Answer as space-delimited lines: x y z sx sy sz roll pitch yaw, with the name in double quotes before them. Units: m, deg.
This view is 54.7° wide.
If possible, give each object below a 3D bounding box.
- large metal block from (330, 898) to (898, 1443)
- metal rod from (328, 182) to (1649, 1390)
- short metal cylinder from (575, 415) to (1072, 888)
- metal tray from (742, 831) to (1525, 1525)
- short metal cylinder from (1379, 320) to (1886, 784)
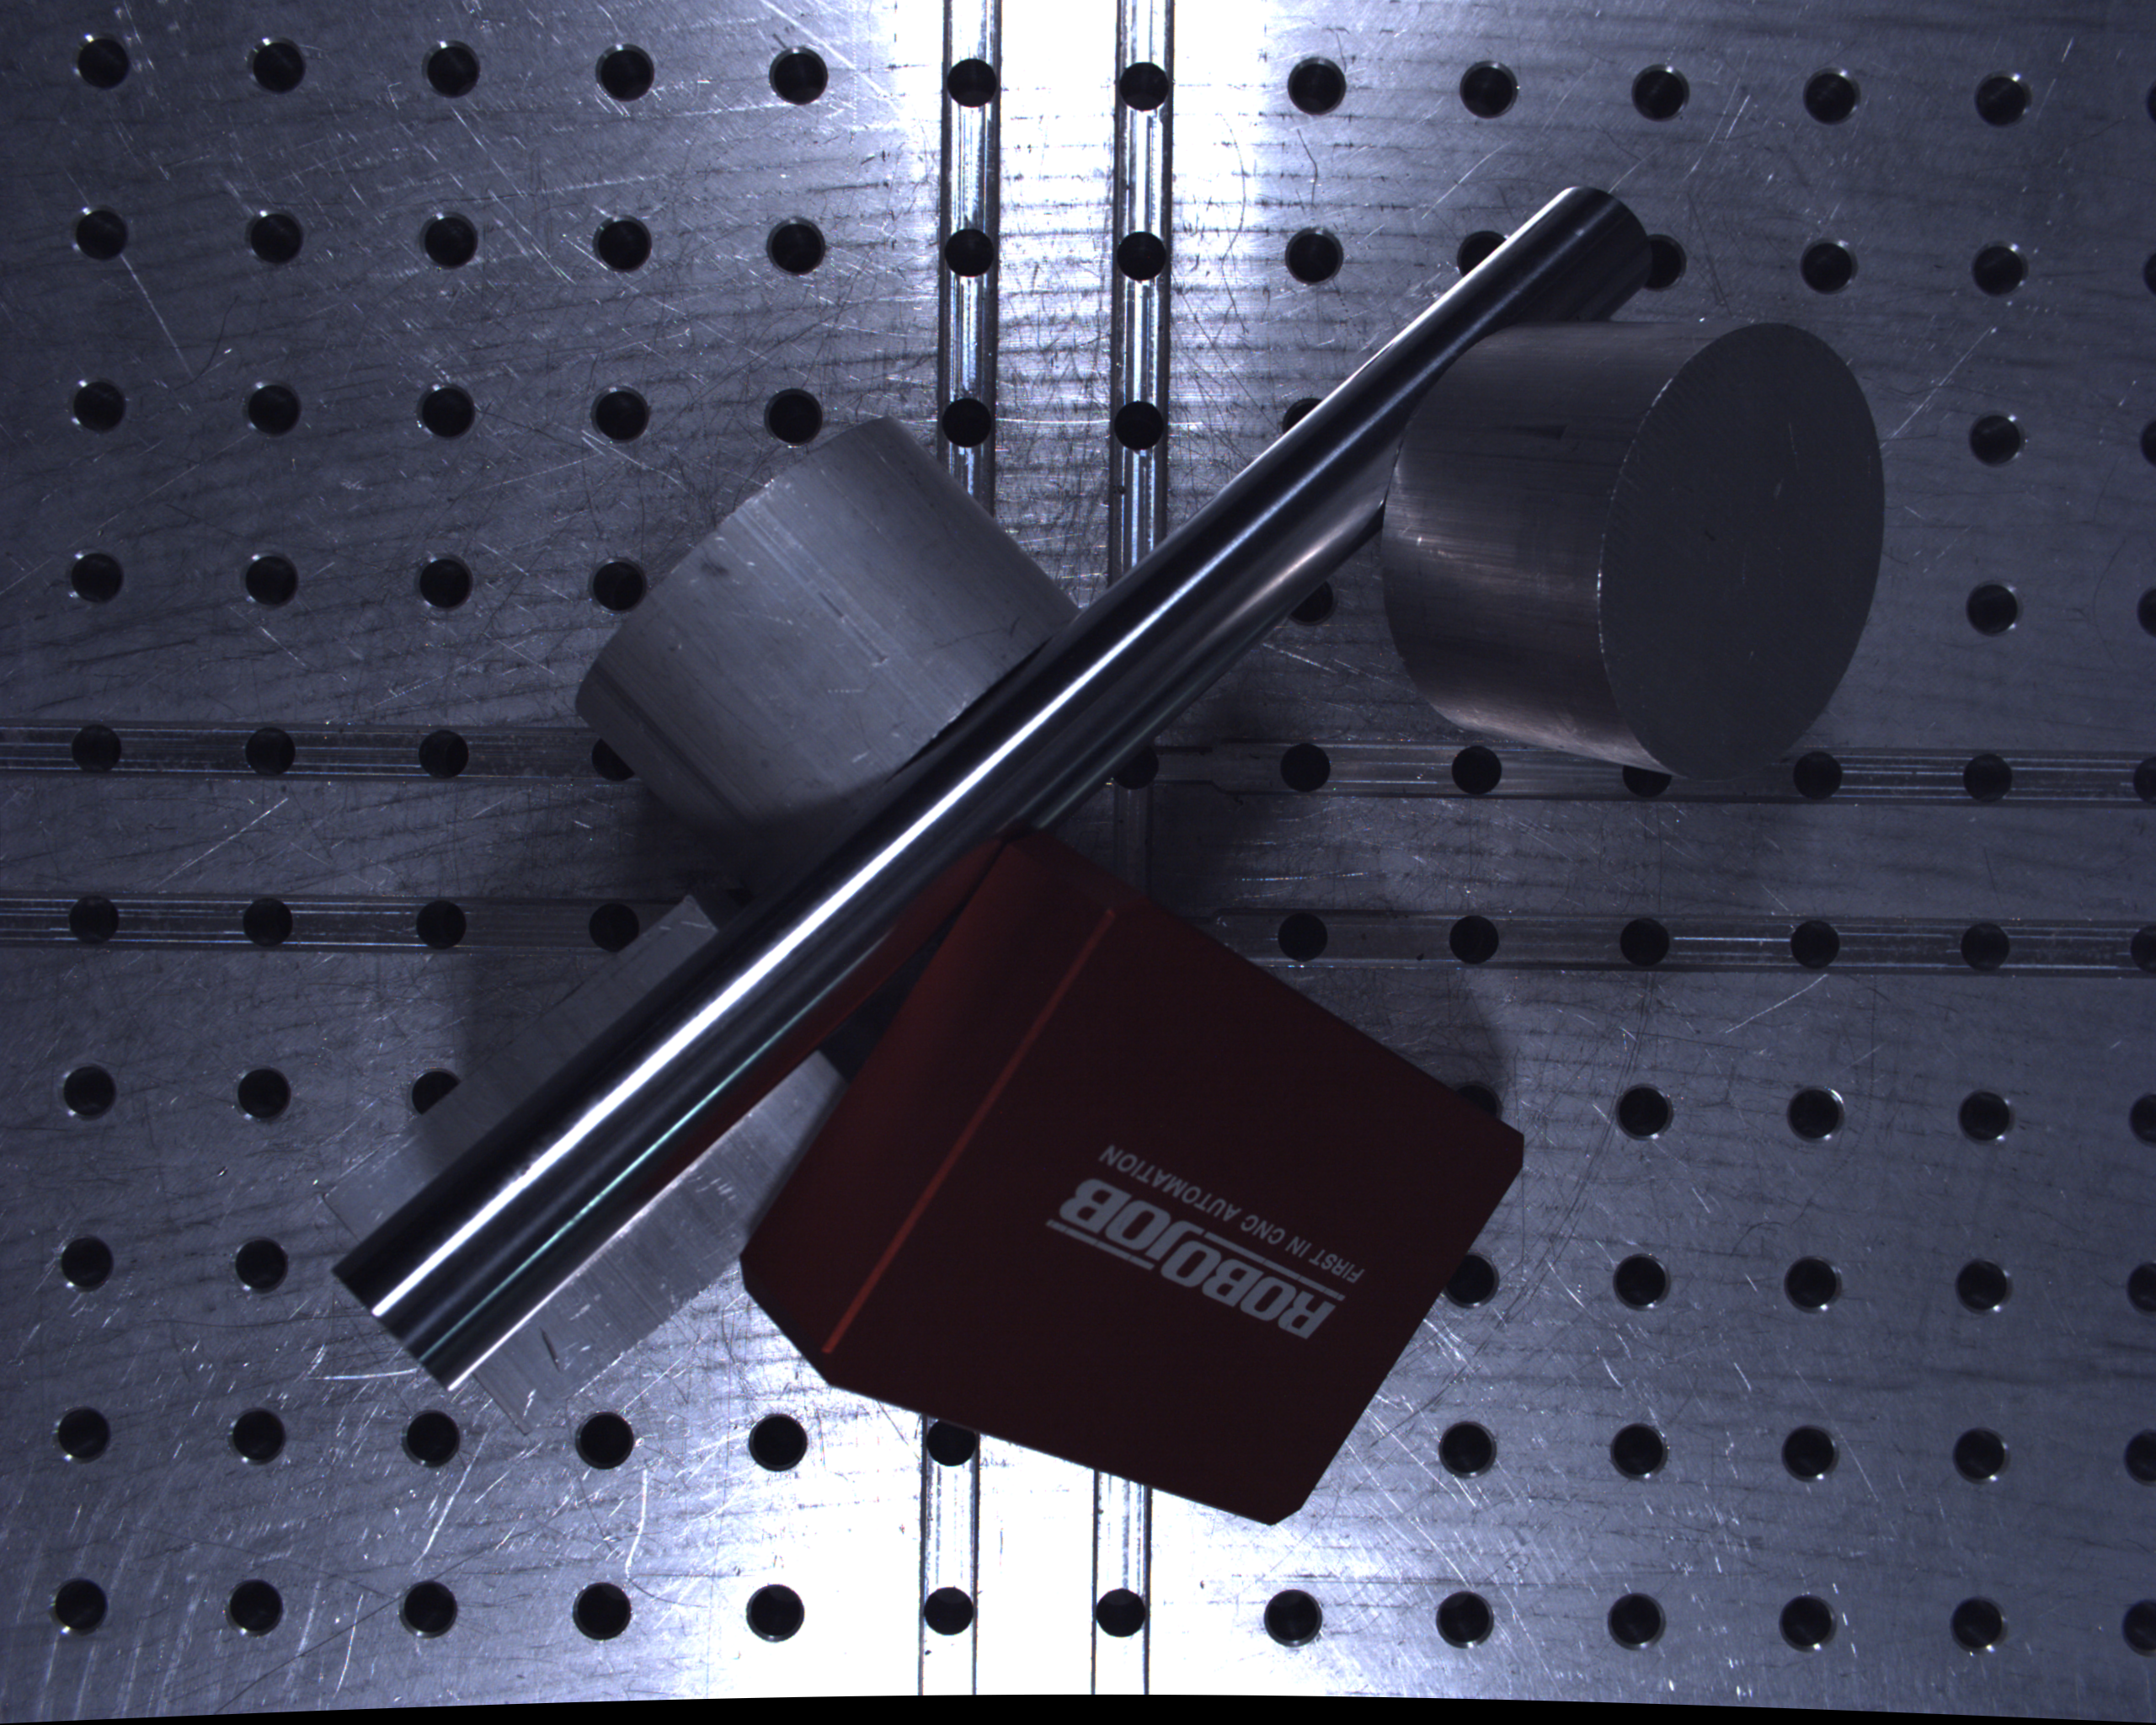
"large metal block" -0.076 0.051 0.384 0.080 0.080 0.050 -39 90 0
"metal rod" 0.001 -0.028 0.360 0.025 0.025 0.301 47 68 0
"short metal cylinder" -0.045 -0.036 0.385 0.080 0.080 0.050 -43 91 0
"metal tray" 0.016 0.061 0.371 0.130 0.030 0.090 32 90 -42
"short metal cylinder" 0.102 -0.058 0.382 0.081 0.050 0.079 -11 109 -35
